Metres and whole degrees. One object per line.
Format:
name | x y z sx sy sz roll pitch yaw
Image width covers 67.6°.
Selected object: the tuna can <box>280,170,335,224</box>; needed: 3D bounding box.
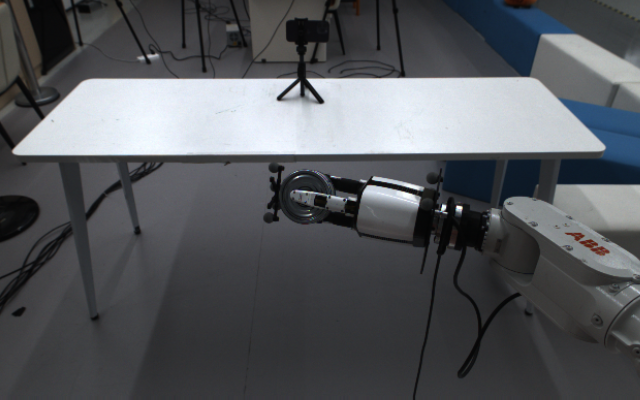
tuna can | -0.019 -0.006 0.750 0.085 0.085 0.034 10 2 11
